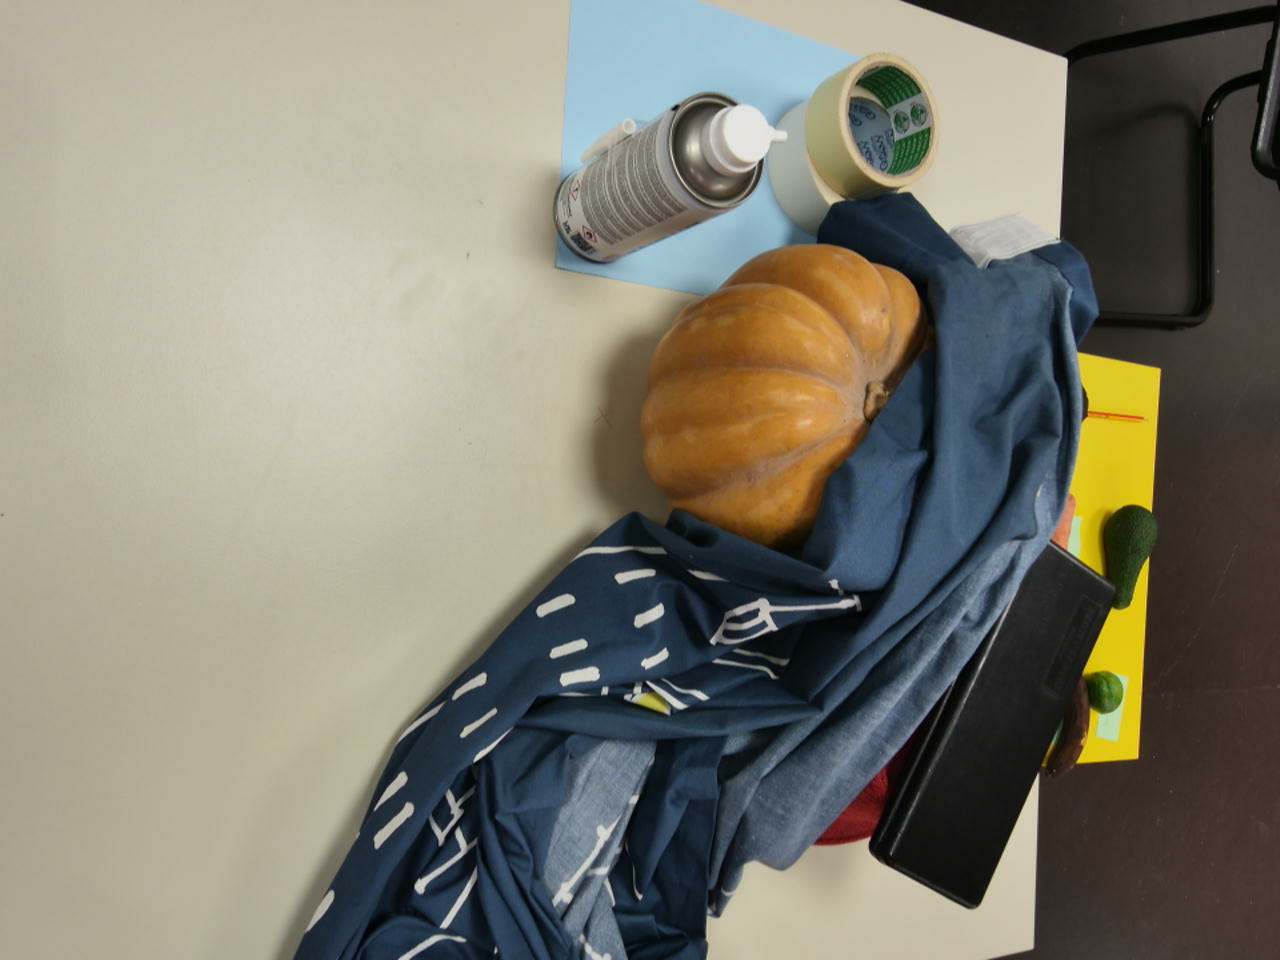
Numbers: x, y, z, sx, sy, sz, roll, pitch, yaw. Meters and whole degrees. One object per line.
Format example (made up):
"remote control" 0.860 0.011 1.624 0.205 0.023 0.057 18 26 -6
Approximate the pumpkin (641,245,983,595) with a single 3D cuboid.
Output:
"pumpkin" 0.109 -0.035 0.661 0.230 0.194 0.230 0 91 -28
